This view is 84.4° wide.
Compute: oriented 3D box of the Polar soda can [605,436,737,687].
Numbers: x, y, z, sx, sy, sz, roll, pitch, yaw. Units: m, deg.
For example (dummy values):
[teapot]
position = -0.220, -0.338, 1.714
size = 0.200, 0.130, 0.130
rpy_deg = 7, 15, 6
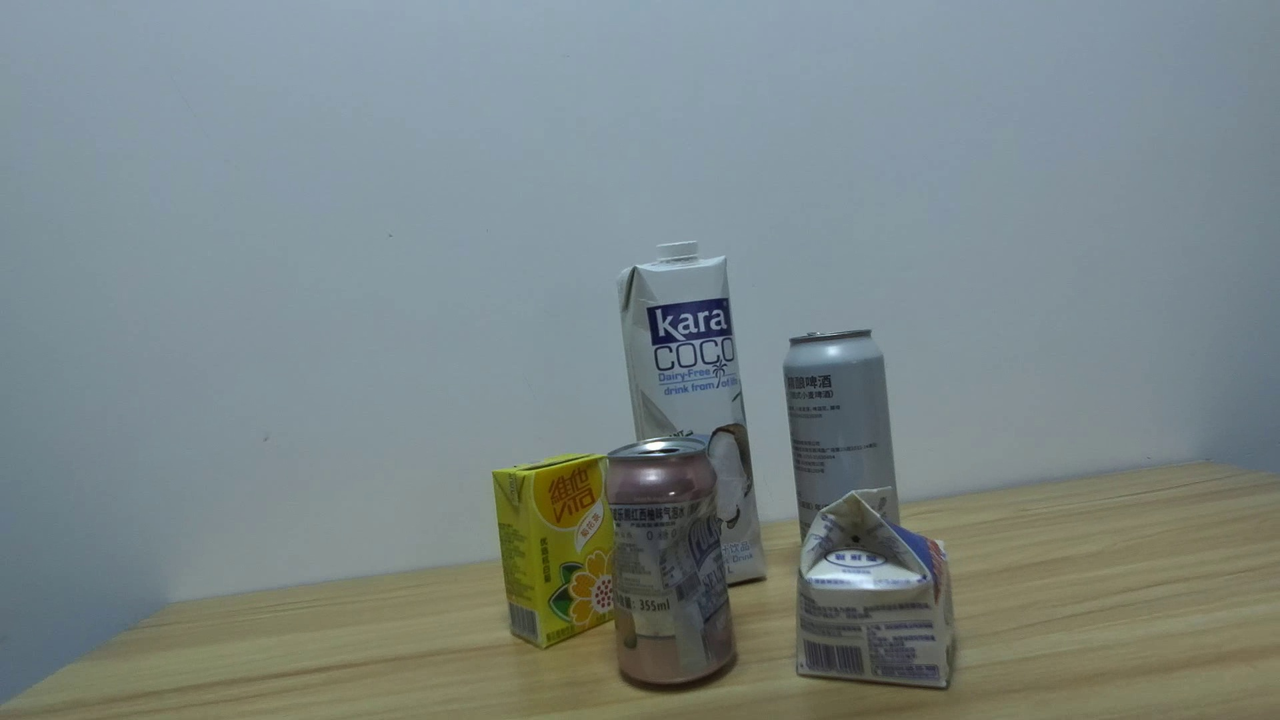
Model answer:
[Polar soda can]
position = 0.017, 0.108, 0.386
size = 0.074, 0.121, 0.067
rpy_deg = -8, 1, -28

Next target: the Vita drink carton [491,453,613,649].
[Vita drink carton]
position = -0.052, 0.120, 0.460
size = 0.067, 0.109, 0.043
rpy_deg = -7, 2, -39

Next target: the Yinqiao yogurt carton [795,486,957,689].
[Yinqiao yogurt carton]
position = 0.119, 0.108, 0.368
size = 0.077, 0.093, 0.083
rpy_deg = -6, 2, 25

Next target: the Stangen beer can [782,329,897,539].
[Stangen beer can]
position = 0.136, 0.067, 0.476
size = 0.067, 0.171, 0.067
rpy_deg = -5, -2, 0
